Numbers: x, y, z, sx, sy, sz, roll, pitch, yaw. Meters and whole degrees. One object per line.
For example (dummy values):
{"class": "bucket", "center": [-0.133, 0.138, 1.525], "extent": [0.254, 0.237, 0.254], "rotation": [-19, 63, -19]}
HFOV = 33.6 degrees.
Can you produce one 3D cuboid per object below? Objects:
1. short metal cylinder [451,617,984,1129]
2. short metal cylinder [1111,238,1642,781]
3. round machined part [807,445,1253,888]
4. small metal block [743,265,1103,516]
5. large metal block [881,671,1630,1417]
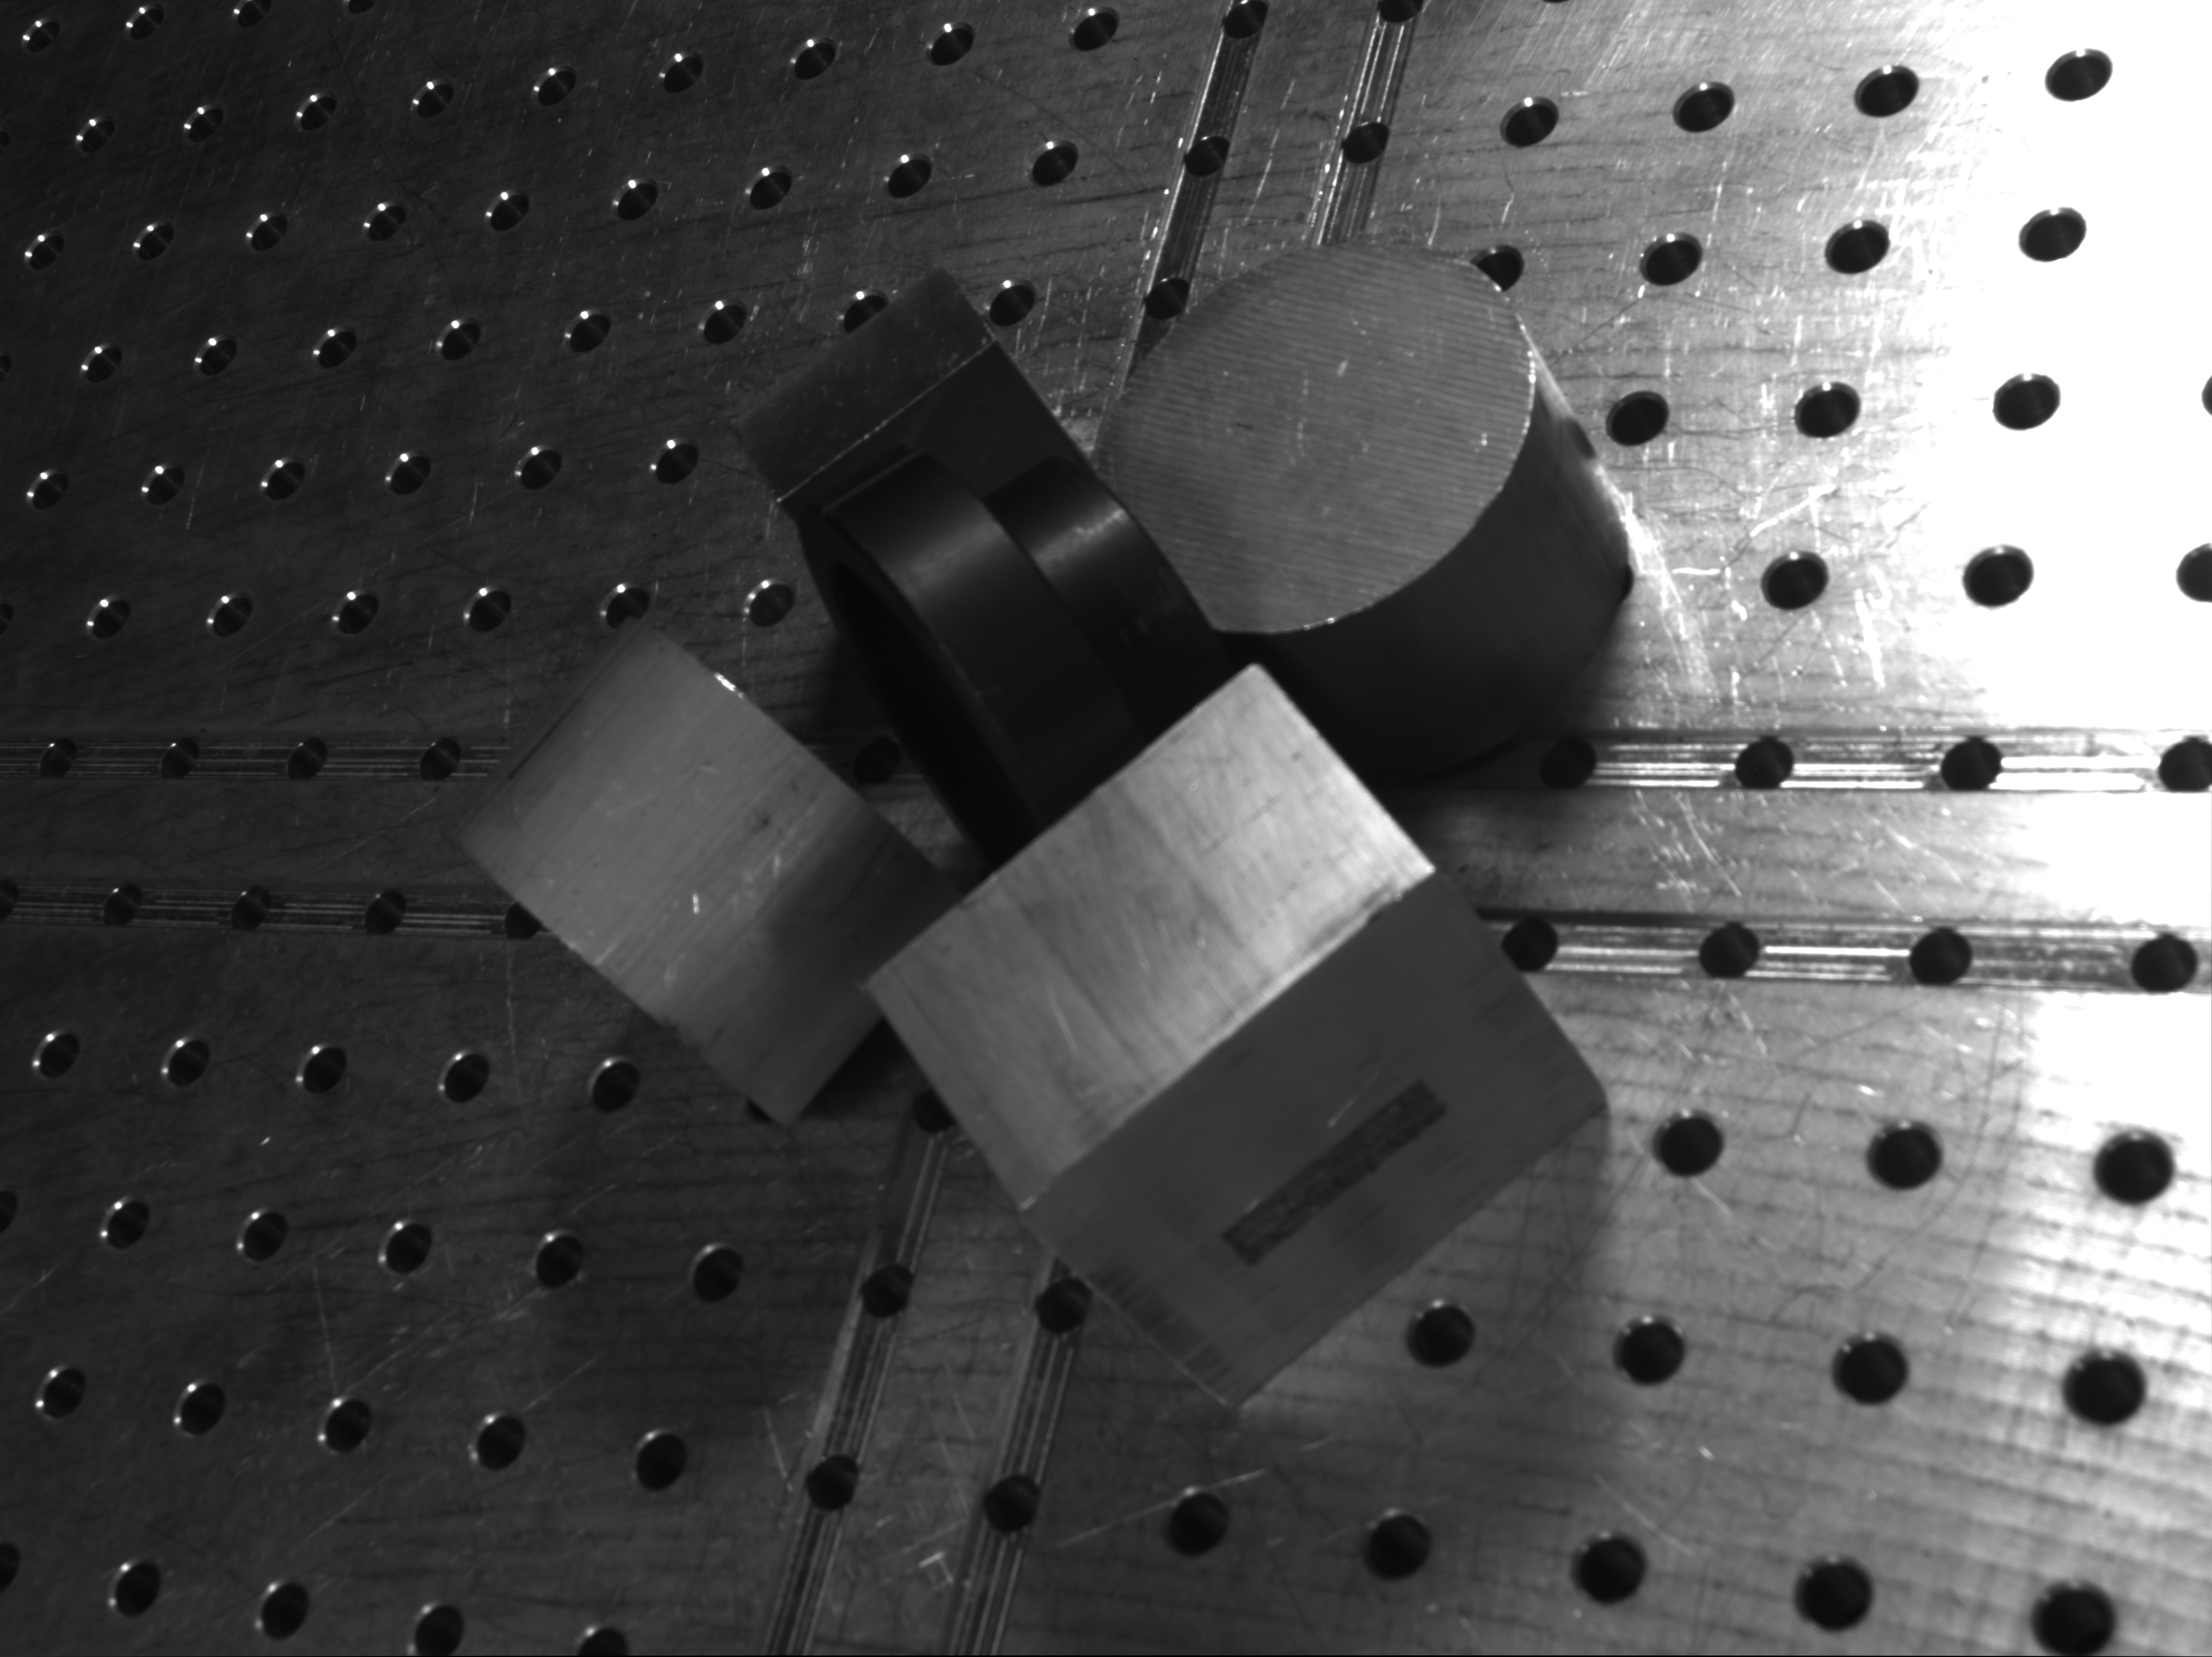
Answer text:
{"class": "short metal cylinder", "center": [-0.068, 0.008, 0.643], "extent": [0.050, 0.080, 0.080], "rotation": [-49, 51, -7]}
{"class": "short metal cylinder", "center": [0.047, -0.055, 0.639], "extent": [0.080, 0.050, 0.080], "rotation": [-13, 56, 21]}
{"class": "round machined part", "center": [-0.006, -0.024, 0.619], "extent": [0.042, 0.098, 0.098], "rotation": [-34, 50, -10]}
{"class": "small metal block", "center": [-0.032, -0.070, 0.691], "extent": [0.050, 0.050, 0.025], "rotation": [-36, 51, 4]}
{"class": "large metal block", "center": [0.025, 0.036, 0.577], "extent": [0.080, 0.080, 0.050], "rotation": [-40, 51, 1]}
